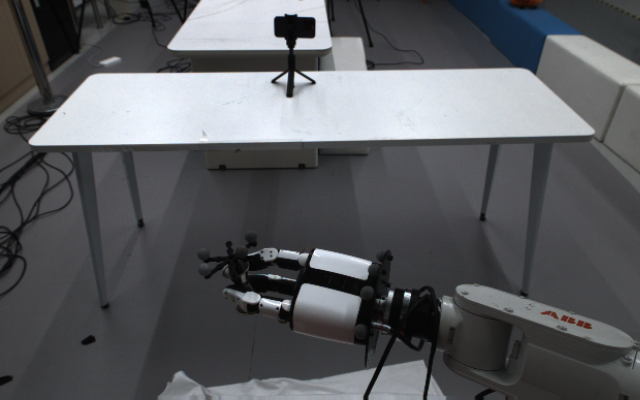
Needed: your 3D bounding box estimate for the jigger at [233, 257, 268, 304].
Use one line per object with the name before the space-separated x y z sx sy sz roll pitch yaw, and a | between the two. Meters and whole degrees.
jigger | -0.107 0.123 0.689 0.043 0.071 0.043 -12 29 7
